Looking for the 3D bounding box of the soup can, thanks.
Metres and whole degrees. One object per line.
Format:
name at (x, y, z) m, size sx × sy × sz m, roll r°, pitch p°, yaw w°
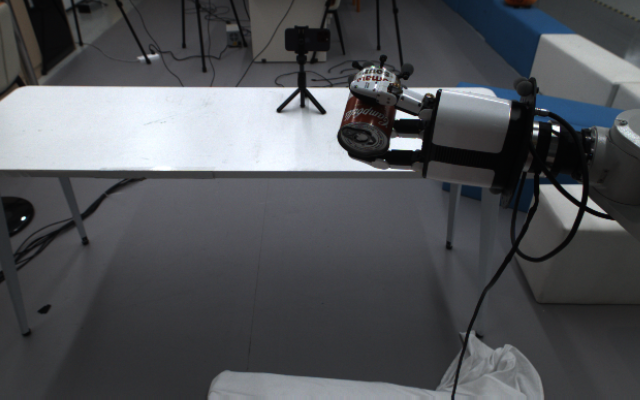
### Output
soup can at (0.067, -0.118, 0.635) m, size 0.067 × 0.067 × 0.101 m, roll 9°, pitch 60°, yaw 10°
